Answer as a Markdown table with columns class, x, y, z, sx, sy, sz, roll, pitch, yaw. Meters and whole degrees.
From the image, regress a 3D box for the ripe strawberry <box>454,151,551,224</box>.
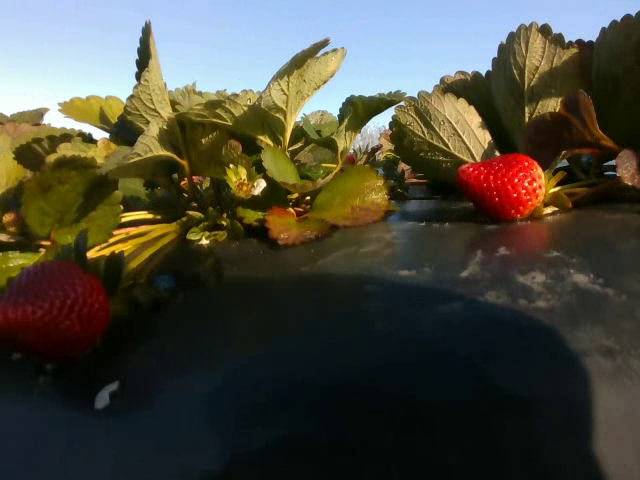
| class | x | y | z | sx | sy | sz | roll | pitch | yaw |
| --- | --- | --- | --- | --- | --- | --- | --- | --- | --- |
| ripe strawberry | 0.077 | -0.025 | 0.255 | 0.046 | 0.036 | 0.035 | 9 | 31 | 7 |

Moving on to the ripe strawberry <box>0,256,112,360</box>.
| class | x | y | z | sx | sy | sz | roll | pitch | yaw |
| --- | --- | --- | --- | --- | --- | --- | --- | --- | --- |
| ripe strawberry | -0.102 | 0.024 | 0.213 | 0.045 | 0.042 | 0.055 | 9 | 2 | 16 |
